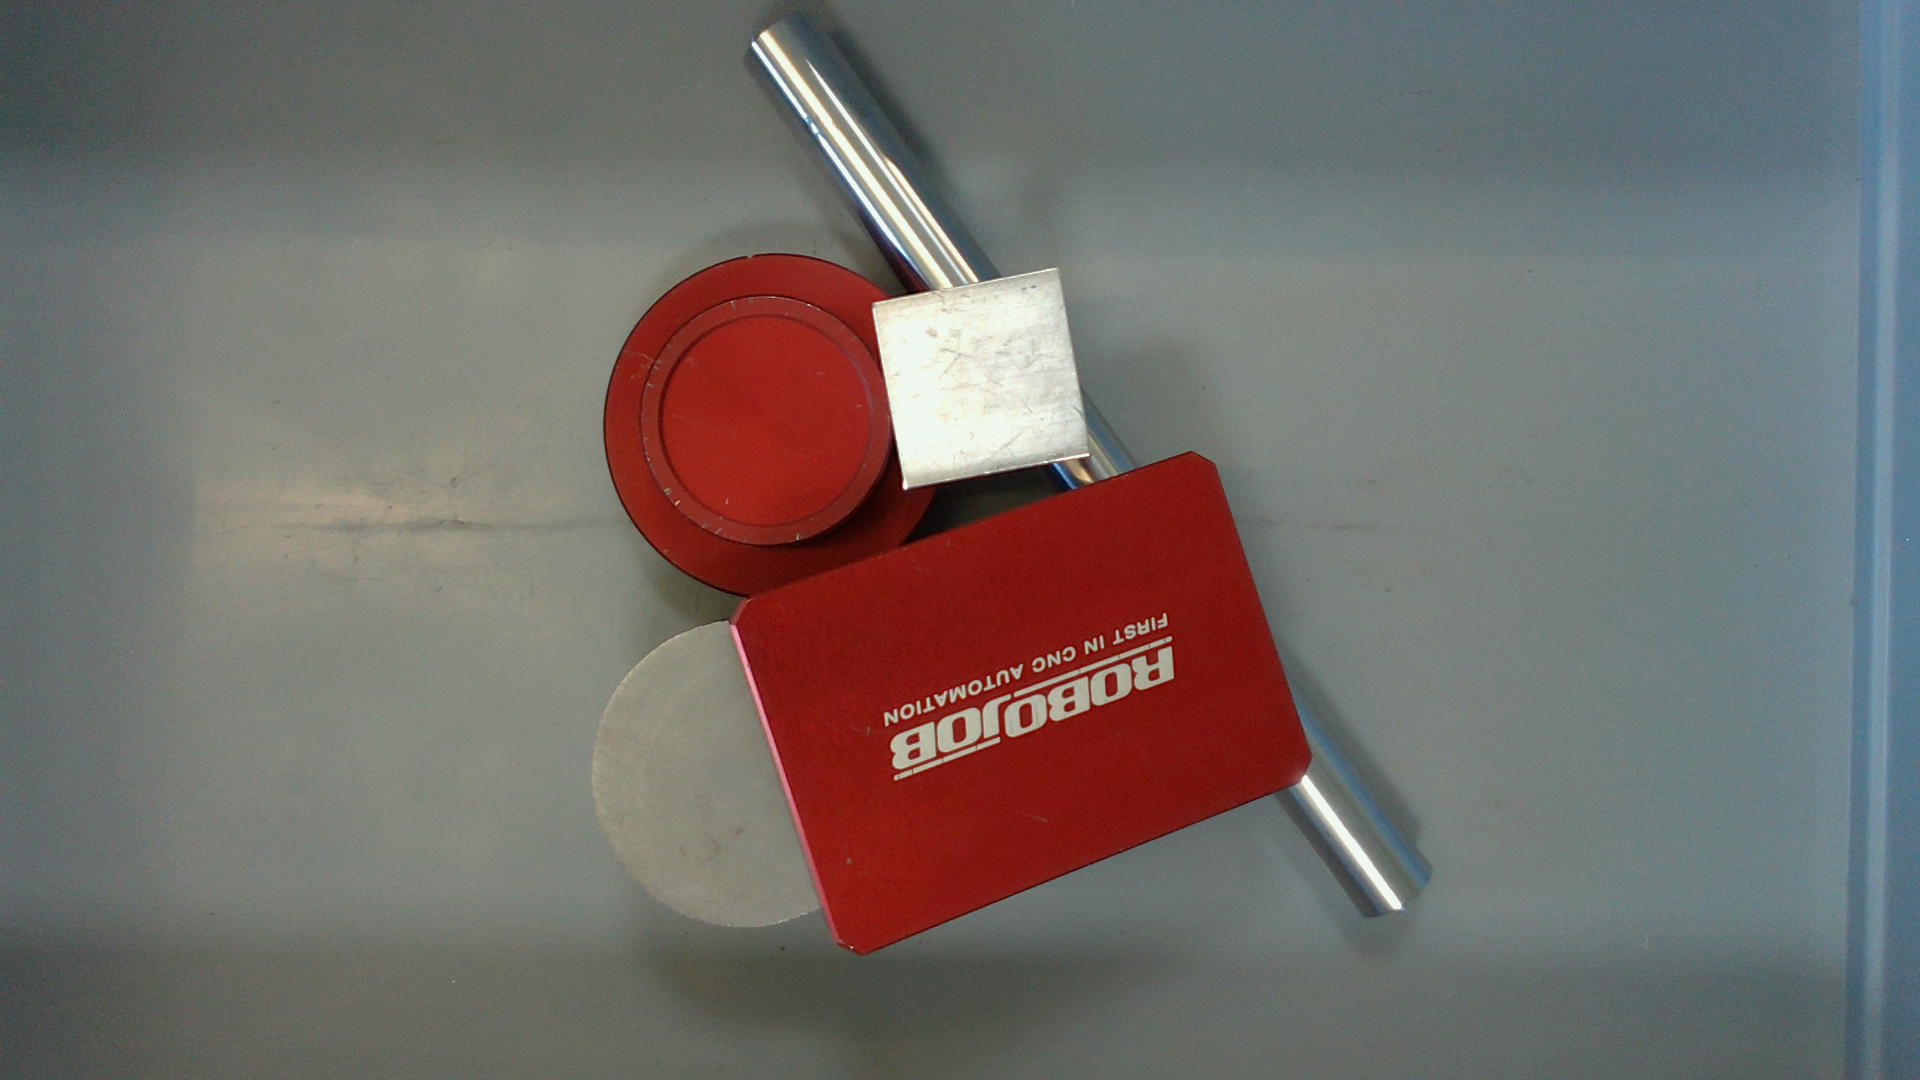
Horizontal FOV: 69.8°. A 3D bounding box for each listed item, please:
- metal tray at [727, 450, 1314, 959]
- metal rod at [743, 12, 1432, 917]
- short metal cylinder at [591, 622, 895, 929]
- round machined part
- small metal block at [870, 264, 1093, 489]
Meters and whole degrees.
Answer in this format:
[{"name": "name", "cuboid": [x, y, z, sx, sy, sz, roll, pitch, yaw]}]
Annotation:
[{"name": "metal tray", "cuboid": [0.016, 0.039, 0.353, 0.130, 0.030, 0.090, -18, 91, -13]}, {"name": "metal rod", "cuboid": [0.036, -0.021, 0.394, 0.025, 0.025, 0.300, -36, 90, 0]}, {"name": "short metal cylinder", "cuboid": [-0.055, 0.061, 0.381, 0.080, 0.050, 0.080, 0, 90, 0]}, {"name": "round machined part", "cuboid": [-0.052, -0.032, 0.384, 0.098, 0.042, 0.098, 0, 90, 1]}, {"name": "small metal block", "cuboid": [0.007, -0.043, 0.370, 0.050, 0.025, 0.050, -10, 93, 5]}]
